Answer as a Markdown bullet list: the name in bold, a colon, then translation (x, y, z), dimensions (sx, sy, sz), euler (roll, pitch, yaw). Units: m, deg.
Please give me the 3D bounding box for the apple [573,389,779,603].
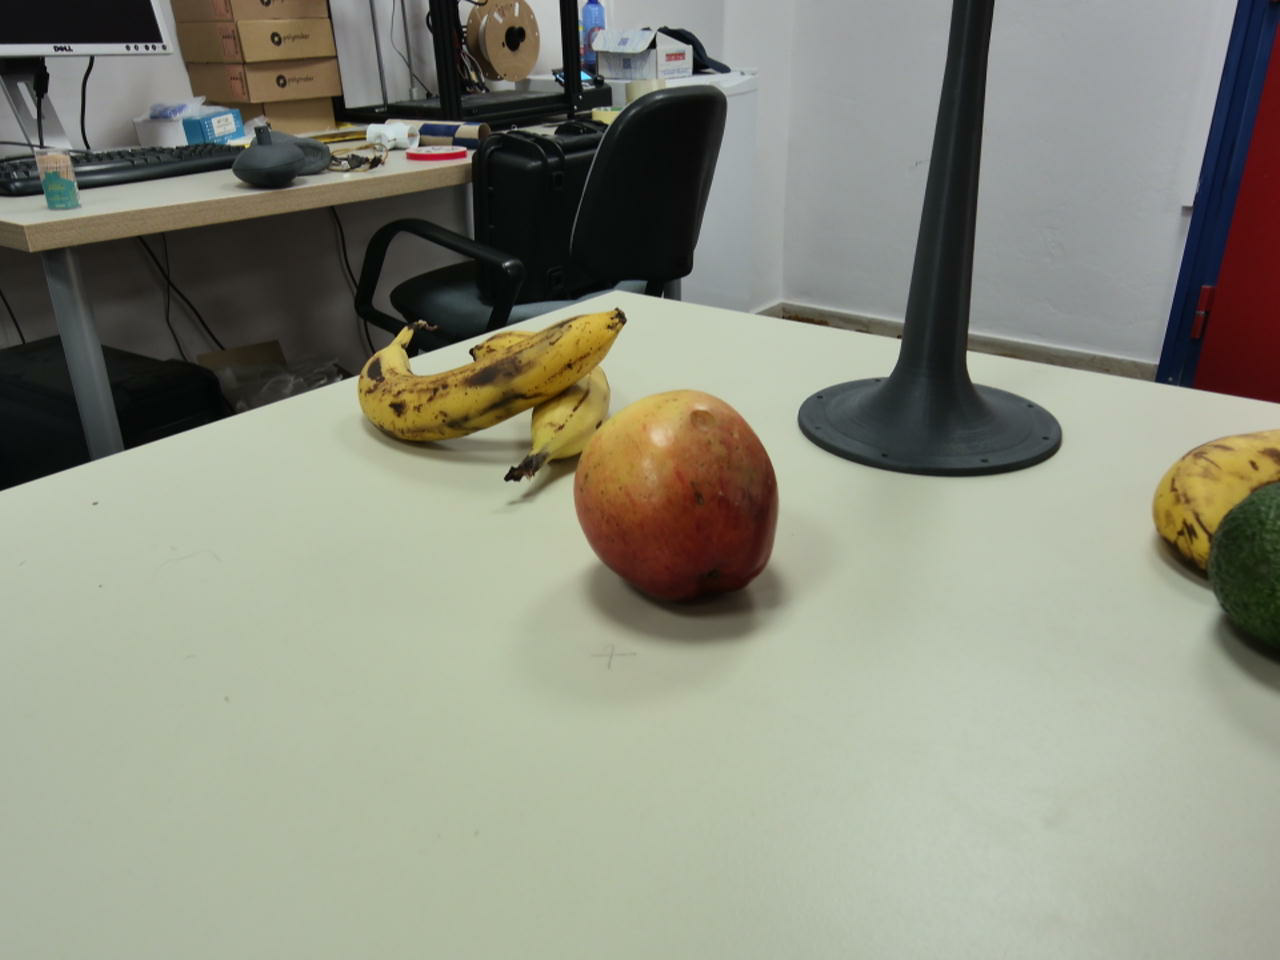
- **apple**: translation (0.015, 0.006, 0.425), dimensions (0.086, 0.084, 0.093), euler (0, 23, 2)
